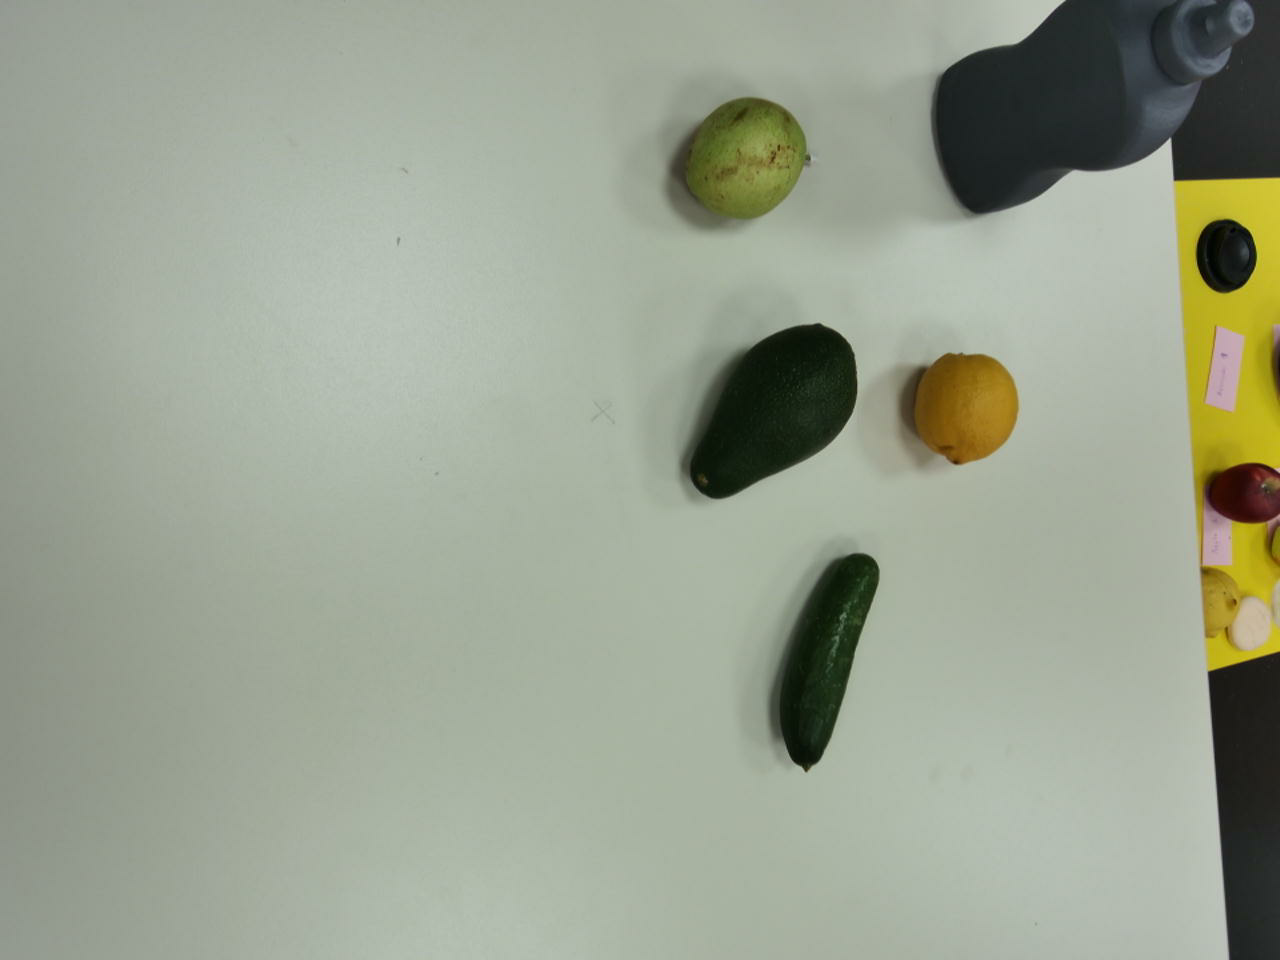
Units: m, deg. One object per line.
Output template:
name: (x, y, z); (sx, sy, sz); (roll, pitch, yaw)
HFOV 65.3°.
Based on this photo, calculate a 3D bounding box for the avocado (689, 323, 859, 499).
avocado: (0.074, -0.040, 0.562); (0.109, 0.071, 0.072); (-29, 101, -19)
